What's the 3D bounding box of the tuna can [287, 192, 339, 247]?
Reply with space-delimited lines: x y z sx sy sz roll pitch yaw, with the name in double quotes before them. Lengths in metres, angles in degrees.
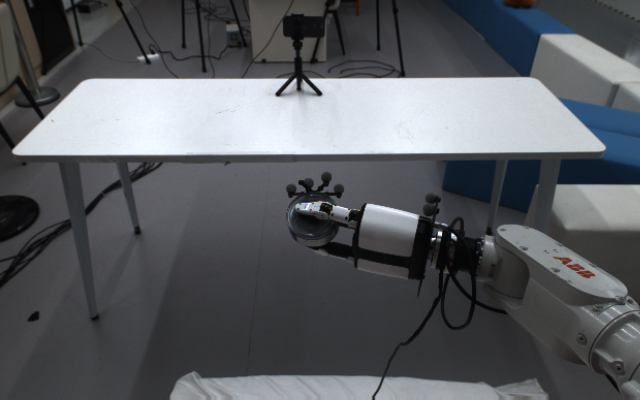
"tuna can" -0.009 0.035 0.772 0.085 0.034 0.085 -1 58 2
